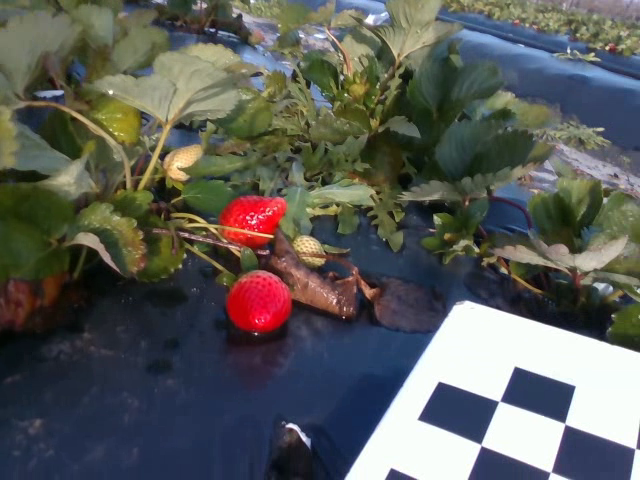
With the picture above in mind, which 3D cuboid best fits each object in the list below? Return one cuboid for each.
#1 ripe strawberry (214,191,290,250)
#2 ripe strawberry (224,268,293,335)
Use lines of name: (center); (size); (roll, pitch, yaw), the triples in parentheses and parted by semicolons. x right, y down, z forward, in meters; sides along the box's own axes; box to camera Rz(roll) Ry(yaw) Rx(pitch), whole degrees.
ripe strawberry: (-0.040, -0.018, 0.357); (0.048, 0.032, 0.039); (-32, 15, 29)
ripe strawberry: (-0.030, 0.031, 0.281); (0.035, 0.030, 0.043); (-2, 27, -8)
